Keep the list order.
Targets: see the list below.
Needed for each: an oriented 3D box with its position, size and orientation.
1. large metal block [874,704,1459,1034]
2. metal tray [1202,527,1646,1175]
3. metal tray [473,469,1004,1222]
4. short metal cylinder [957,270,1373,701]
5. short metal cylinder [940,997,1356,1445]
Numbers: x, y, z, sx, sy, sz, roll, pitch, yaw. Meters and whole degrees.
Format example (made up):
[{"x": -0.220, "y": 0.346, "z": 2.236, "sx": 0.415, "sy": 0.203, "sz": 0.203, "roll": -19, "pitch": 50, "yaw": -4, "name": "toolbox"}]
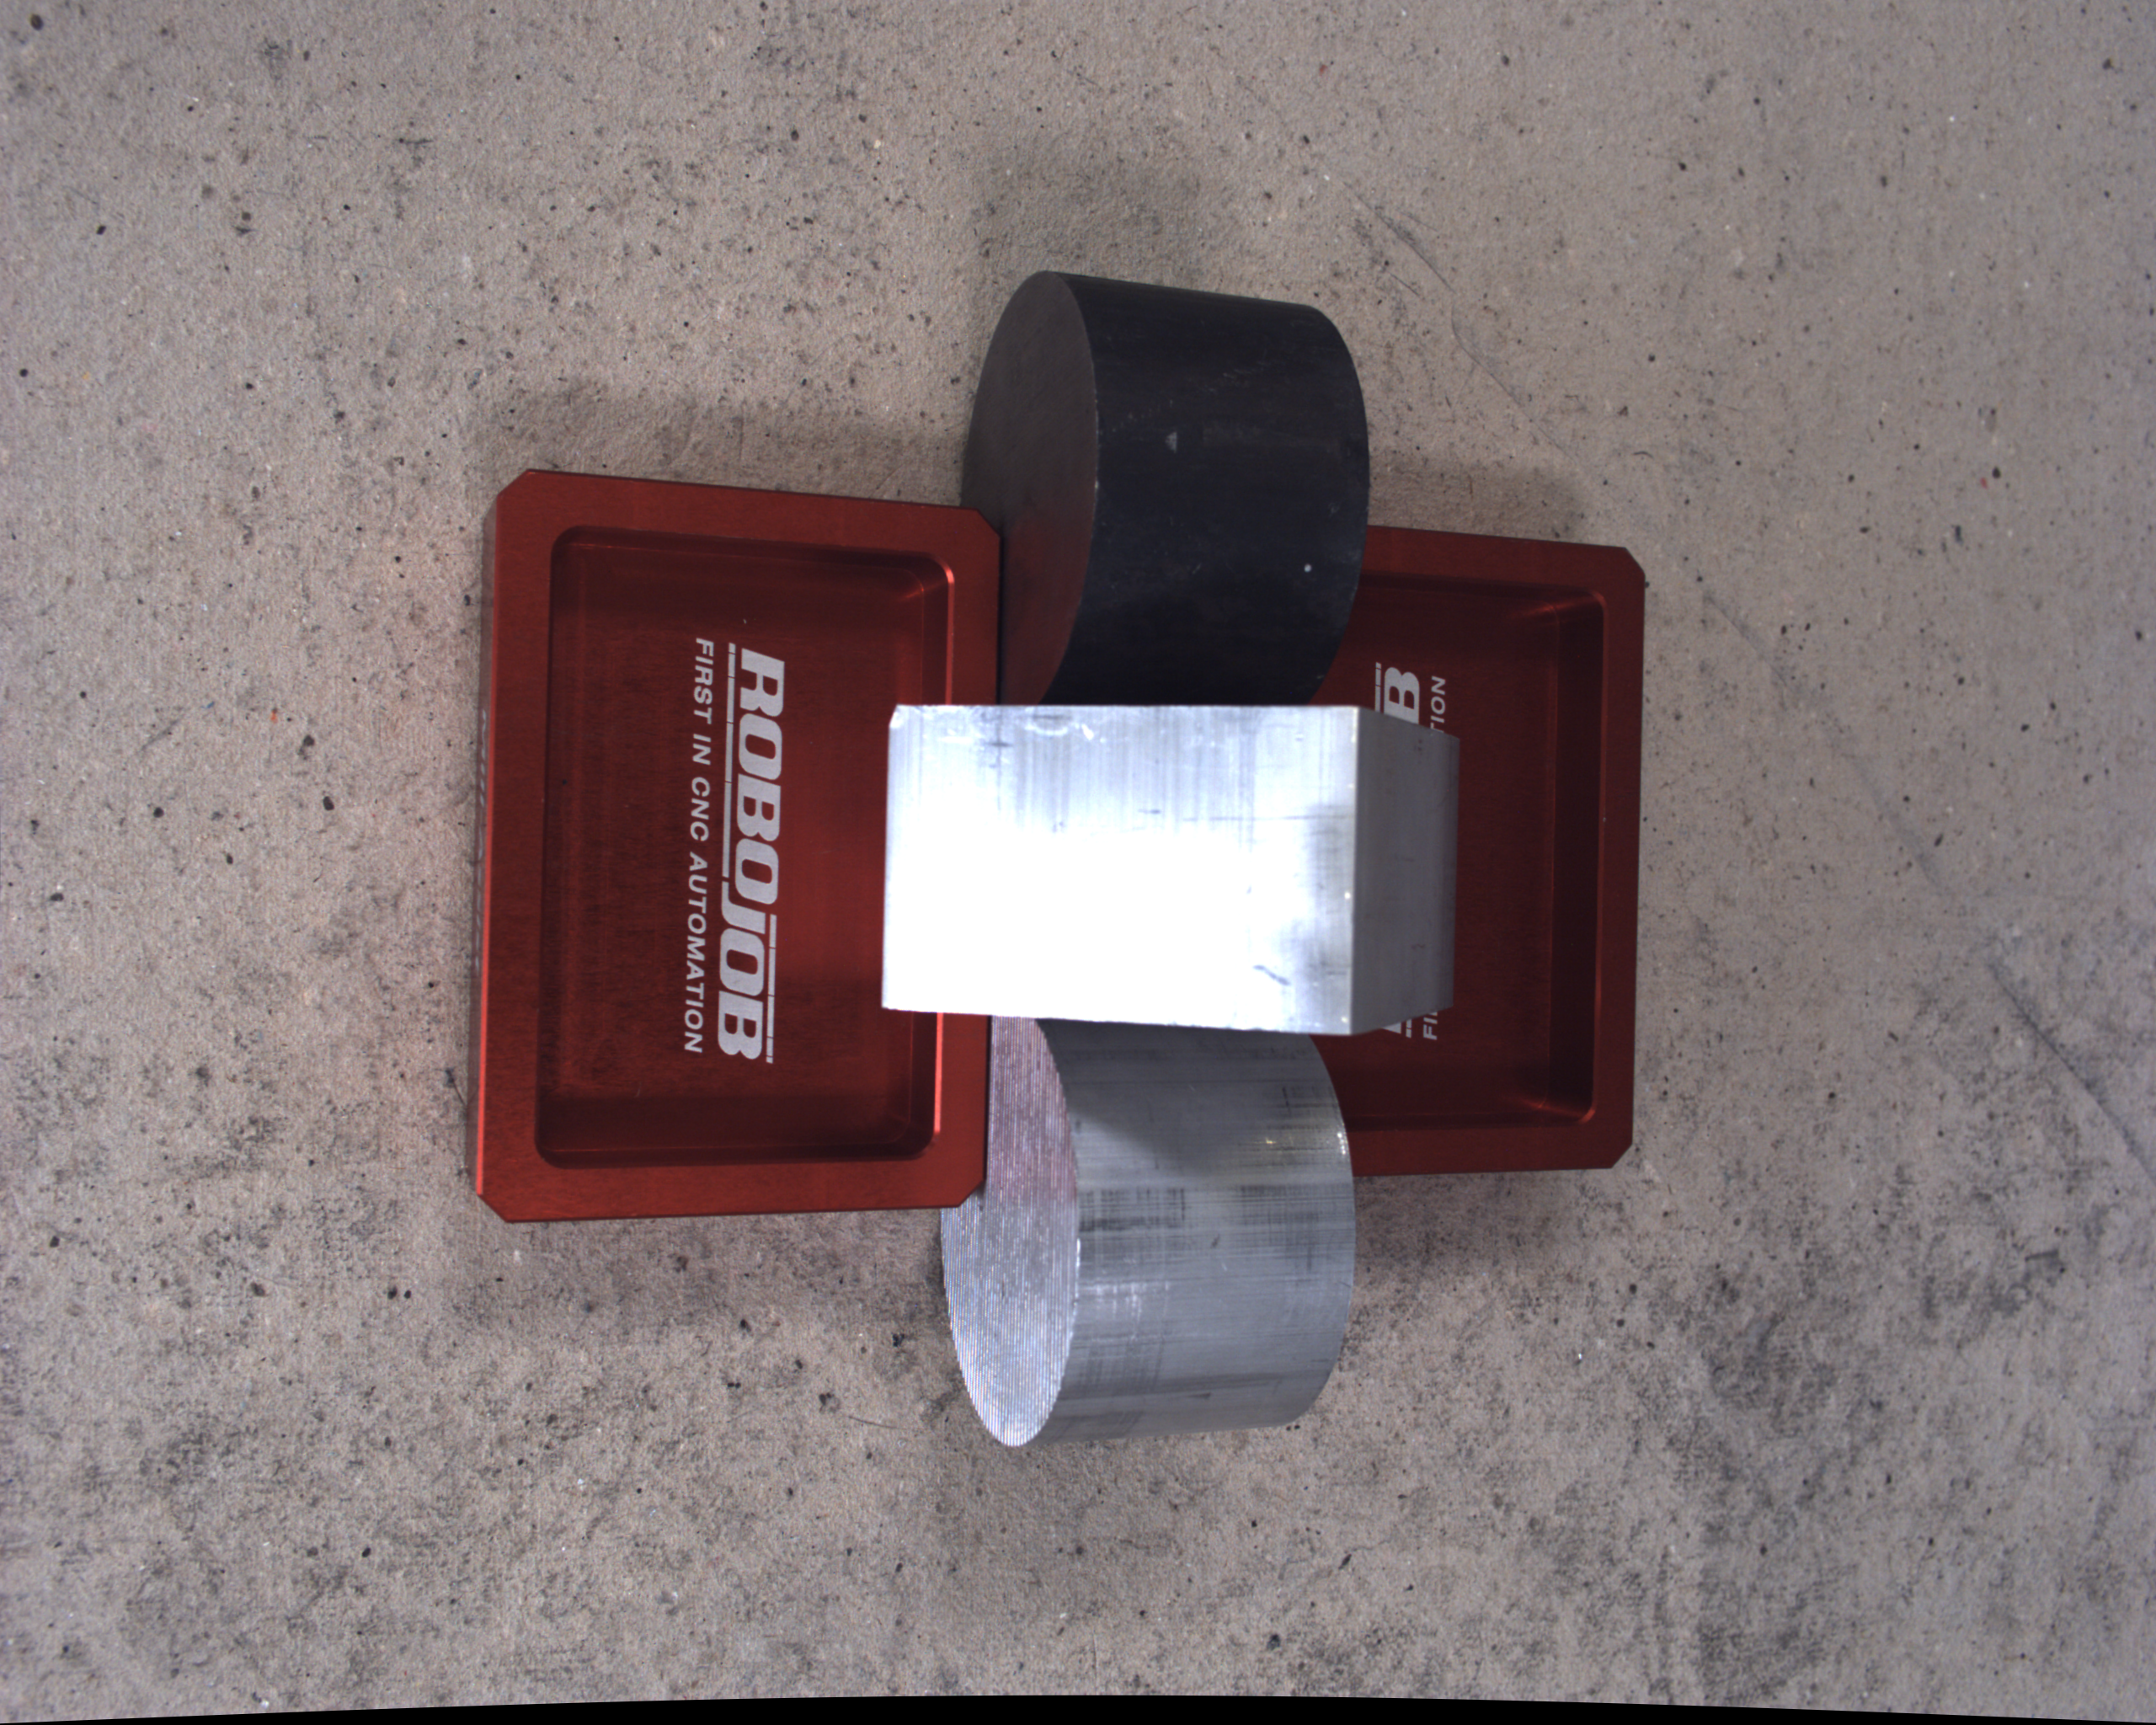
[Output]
[{"x": 0.019, "y": 0.000, "z": 0.366, "sx": 0.080, "sy": 0.080, "sz": 0.050, "roll": 2, "pitch": 90, "yaw": 20, "name": "large metal block"}, {"x": 0.070, "y": -0.002, "z": 0.434, "sx": 0.091, "sy": 0.030, "sz": 0.129, "roll": 2, "pitch": 90, "yaw": -20, "name": "metal tray"}, {"x": -0.062, "y": -0.002, "z": 0.385, "sx": 0.091, "sy": 0.030, "sz": 0.129, "roll": 2, "pitch": 90, "yaw": -20, "name": "metal tray"}, {"x": 0.013, "y": -0.065, "z": 0.386, "sx": 0.050, "sy": 0.080, "sz": 0.080, "roll": 2, "pitch": 90, "yaw": -20, "name": "short metal cylinder"}, {"x": 0.010, "y": 0.065, "z": 0.385, "sx": 0.050, "sy": 0.080, "sz": 0.080, "roll": 2, "pitch": 90, "yaw": -20, "name": "short metal cylinder"}]
